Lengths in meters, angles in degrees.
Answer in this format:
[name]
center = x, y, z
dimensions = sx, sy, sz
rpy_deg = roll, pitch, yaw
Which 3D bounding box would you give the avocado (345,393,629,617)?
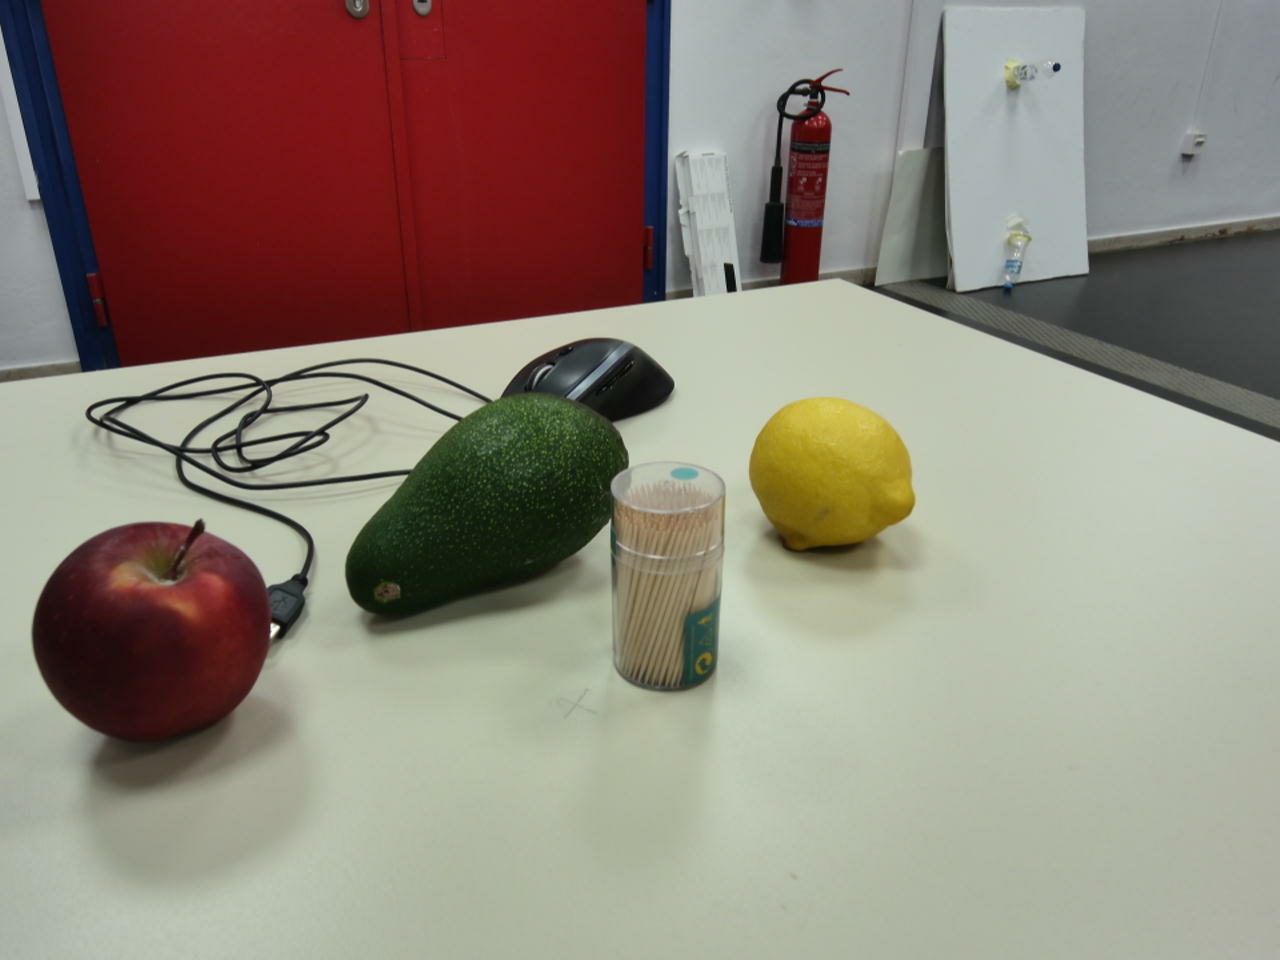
[avocado]
center = -0.064, 0.004, 0.417
dimensions = 0.123, 0.076, 0.074
rpy_deg = -8, 25, -19
